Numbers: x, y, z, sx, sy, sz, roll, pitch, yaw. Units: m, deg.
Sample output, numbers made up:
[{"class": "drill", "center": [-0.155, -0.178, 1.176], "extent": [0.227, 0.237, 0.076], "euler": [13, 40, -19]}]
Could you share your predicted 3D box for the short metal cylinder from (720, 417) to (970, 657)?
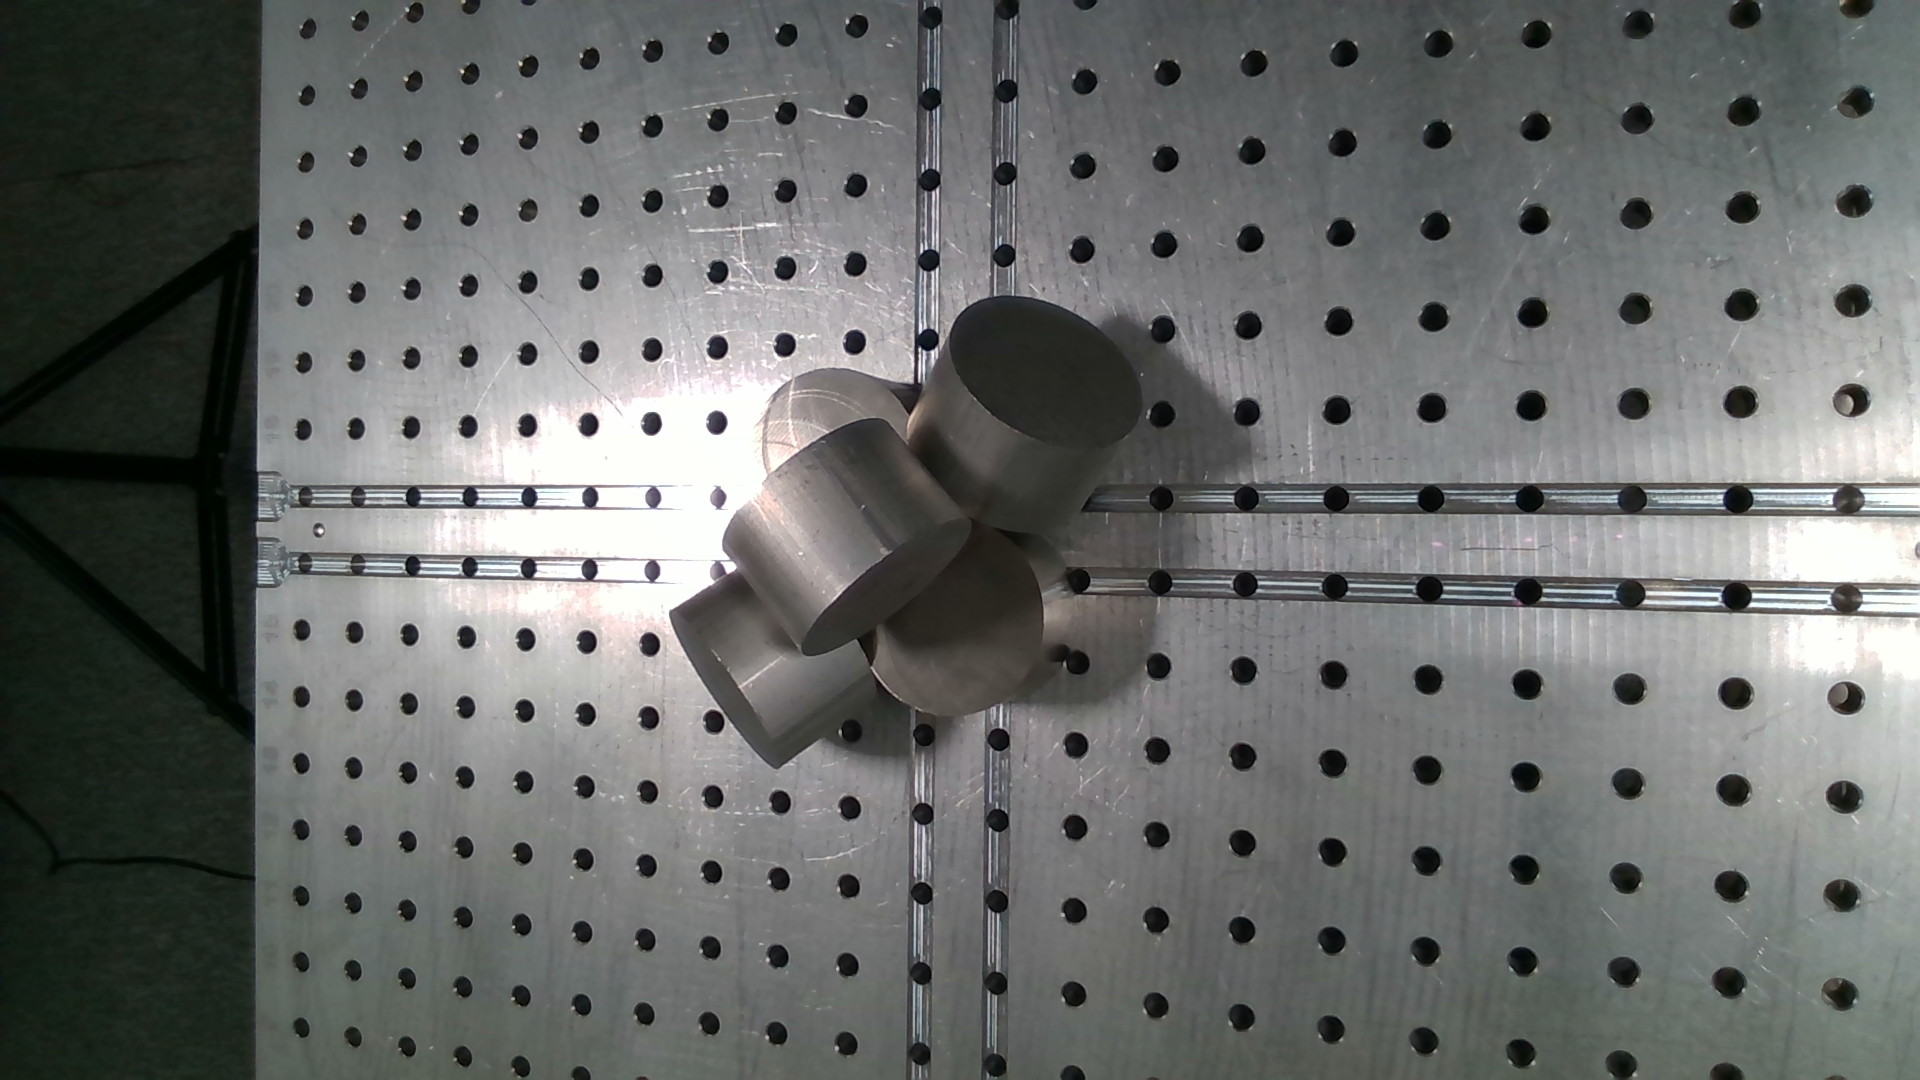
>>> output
[{"class": "short metal cylinder", "center": [-0.043, -0.001, 0.520], "extent": [0.080, 0.080, 0.050], "euler": [-43, 76, 15]}]

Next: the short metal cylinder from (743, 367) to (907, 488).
[{"class": "short metal cylinder", "center": [-0.046, -0.031, 0.591], "extent": [0.080, 0.050, 0.080], "euler": [0, 90, 20]}]

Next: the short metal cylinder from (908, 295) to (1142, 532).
[{"class": "short metal cylinder", "center": [0.024, -0.050, 0.542], "extent": [0.080, 0.080, 0.050], "euler": [45, 139, 14]}]

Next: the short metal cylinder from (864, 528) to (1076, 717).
[{"class": "short metal cylinder", "center": [0.004, 0.031, 0.573], "extent": [0.080, 0.050, 0.080], "euler": [0, 90, 20]}]

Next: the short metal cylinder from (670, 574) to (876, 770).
[{"class": "short metal cylinder", "center": [-0.079, 0.049, 0.581], "extent": [0.050, 0.080, 0.080], "euler": [-34, 76, -19]}]
